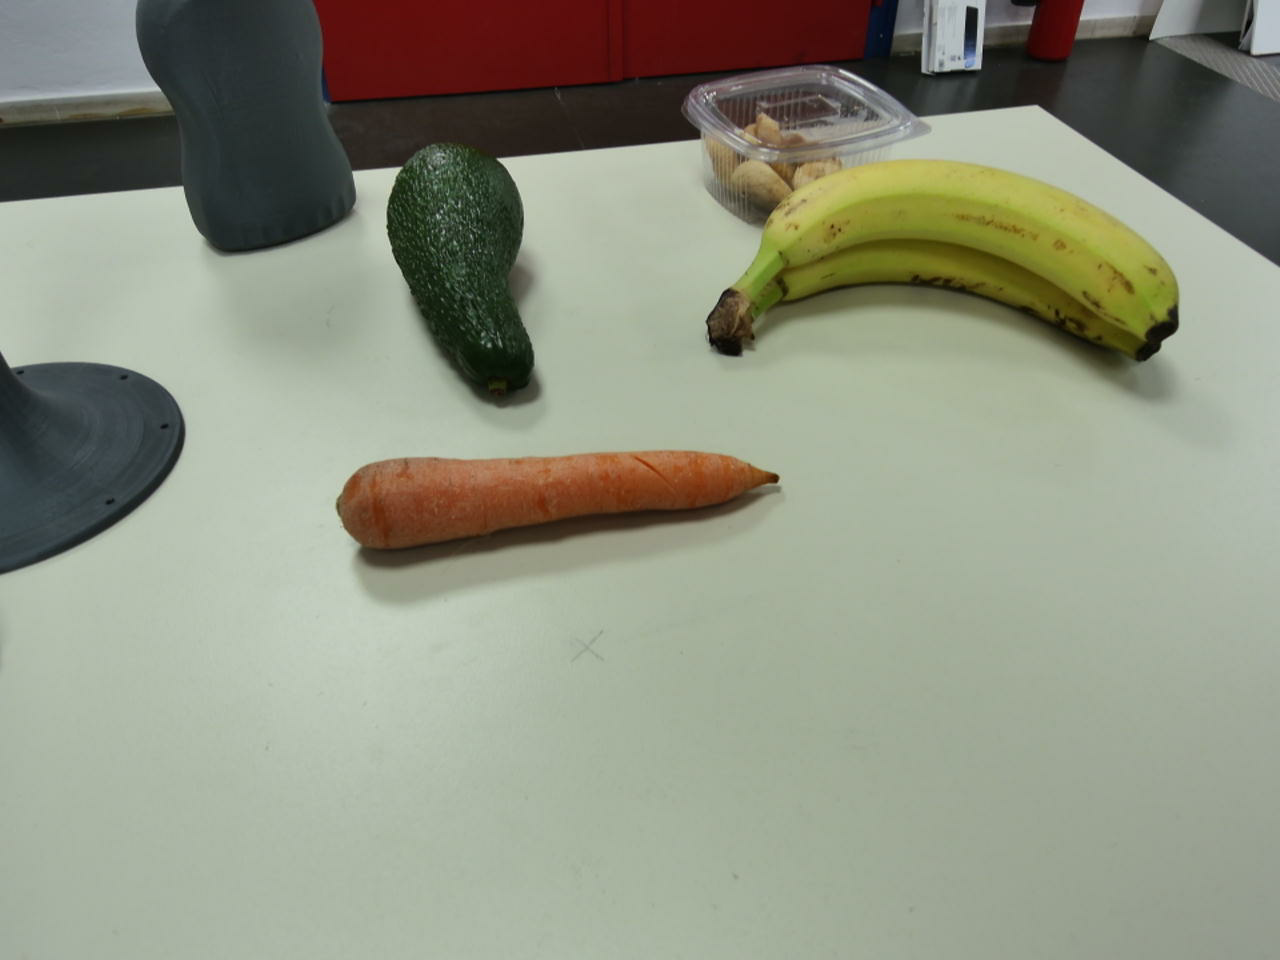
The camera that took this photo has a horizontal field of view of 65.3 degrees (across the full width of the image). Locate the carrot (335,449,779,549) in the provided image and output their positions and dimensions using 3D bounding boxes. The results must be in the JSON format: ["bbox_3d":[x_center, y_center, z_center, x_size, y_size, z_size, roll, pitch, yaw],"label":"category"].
[{"bbox_3d":[-0.032,0.000,0.442,0.196,0.041,0.039,-8,39,-10],"label":"carrot"}]
